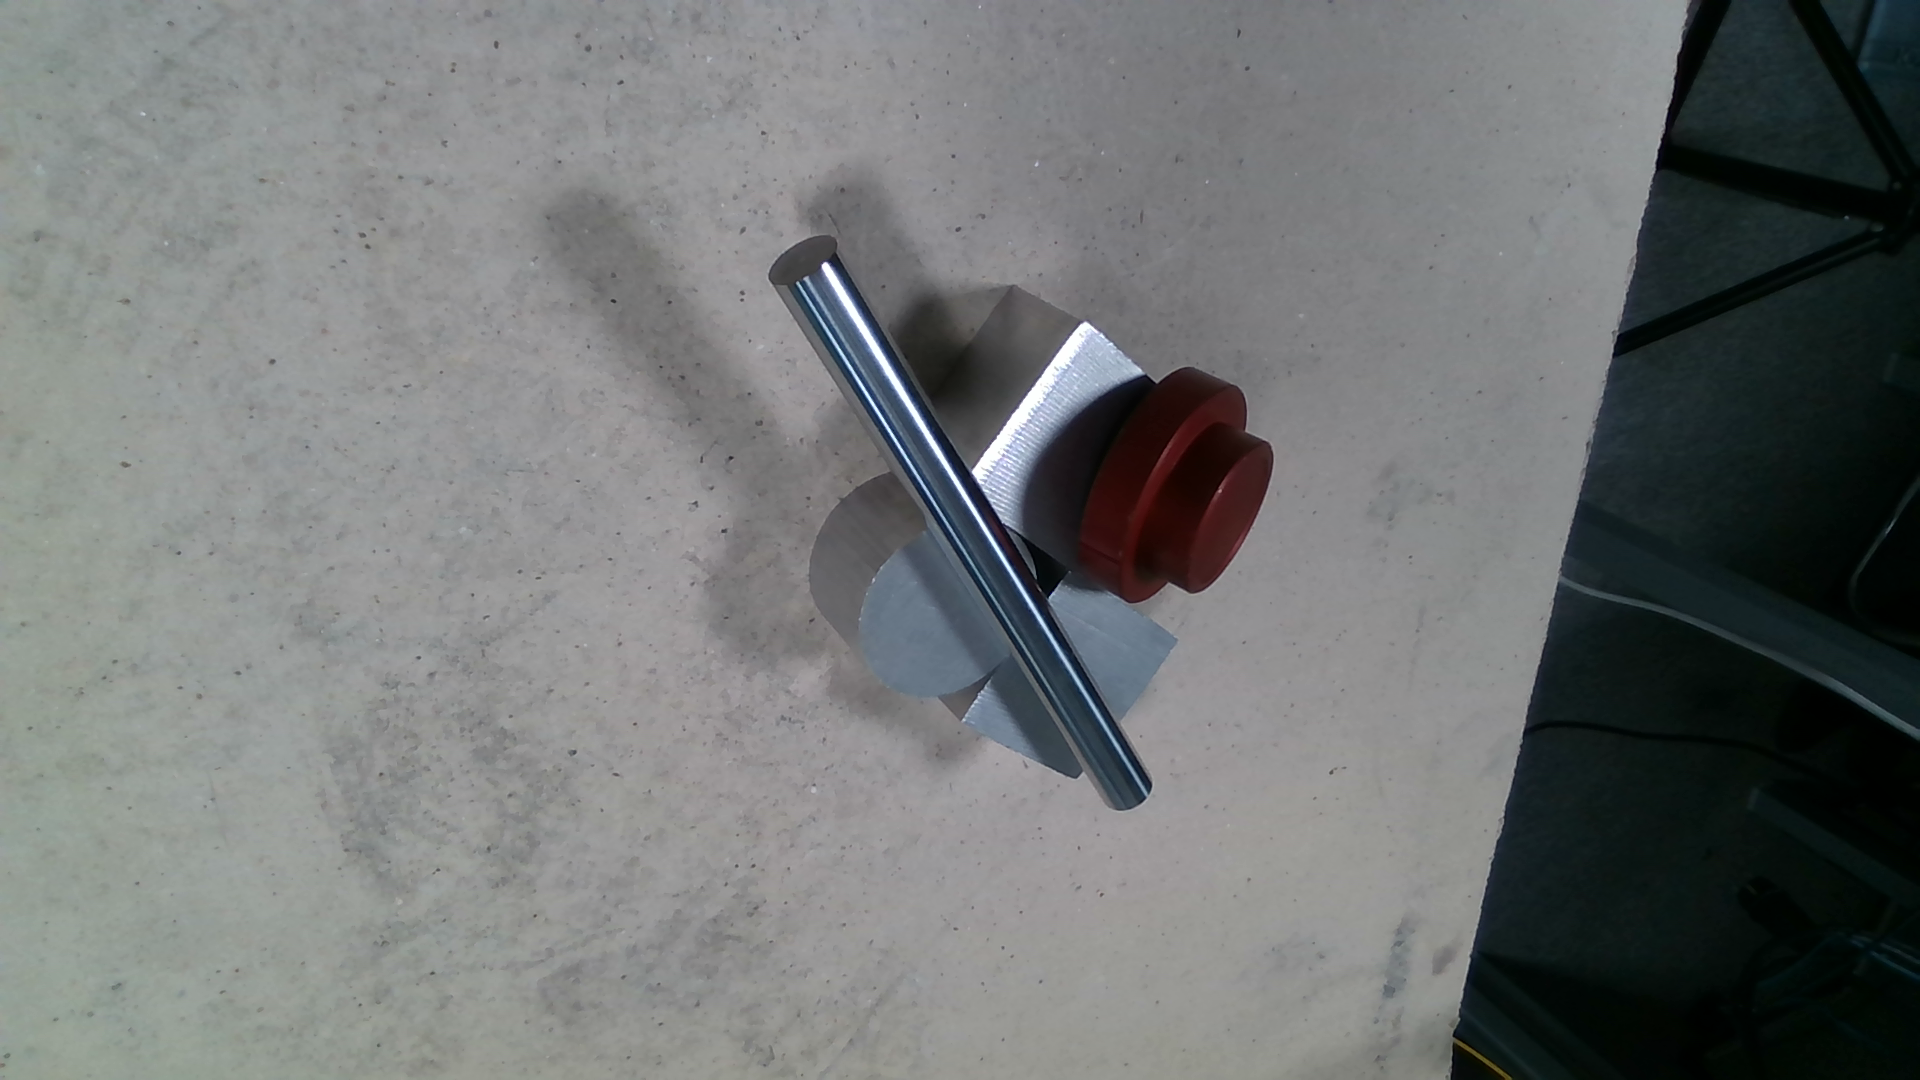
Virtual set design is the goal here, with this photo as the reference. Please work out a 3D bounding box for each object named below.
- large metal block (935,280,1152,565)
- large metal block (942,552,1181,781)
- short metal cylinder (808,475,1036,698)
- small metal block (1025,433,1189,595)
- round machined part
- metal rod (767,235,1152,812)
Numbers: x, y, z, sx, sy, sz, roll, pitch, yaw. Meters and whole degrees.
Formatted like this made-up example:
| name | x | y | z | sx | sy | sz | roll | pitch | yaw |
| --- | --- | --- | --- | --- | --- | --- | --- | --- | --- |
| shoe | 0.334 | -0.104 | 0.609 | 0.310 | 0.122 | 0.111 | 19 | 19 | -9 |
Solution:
| name | x | y | z | sx | sy | sz | roll | pitch | yaw |
| --- | --- | --- | --- | --- | --- | --- | --- | --- | --- |
| large metal block | 0.037 | -0.045 | 0.562 | 0.080 | 0.050 | 0.080 | 33 | 95 | -39 |
| large metal block | 0.037 | 0.050 | 0.615 | 0.080 | 0.050 | 0.080 | 32 | 96 | -39 |
| short metal cylinder | -0.016 | 0.017 | 0.564 | 0.080 | 0.050 | 0.080 | -14 | 122 | -25 |
| small metal block | 0.066 | -0.011 | 0.614 | 0.050 | 0.025 | 0.050 | 34 | 95 | -39 |
| round machined part | 0.092 | -0.017 | 0.560 | 0.098 | 0.042 | 0.098 | -44 | 150 | -33 |
| metal rod | 0.012 | 0.012 | 0.530 | 0.025 | 0.025 | 0.301 | -38 | 128 | -8 |
